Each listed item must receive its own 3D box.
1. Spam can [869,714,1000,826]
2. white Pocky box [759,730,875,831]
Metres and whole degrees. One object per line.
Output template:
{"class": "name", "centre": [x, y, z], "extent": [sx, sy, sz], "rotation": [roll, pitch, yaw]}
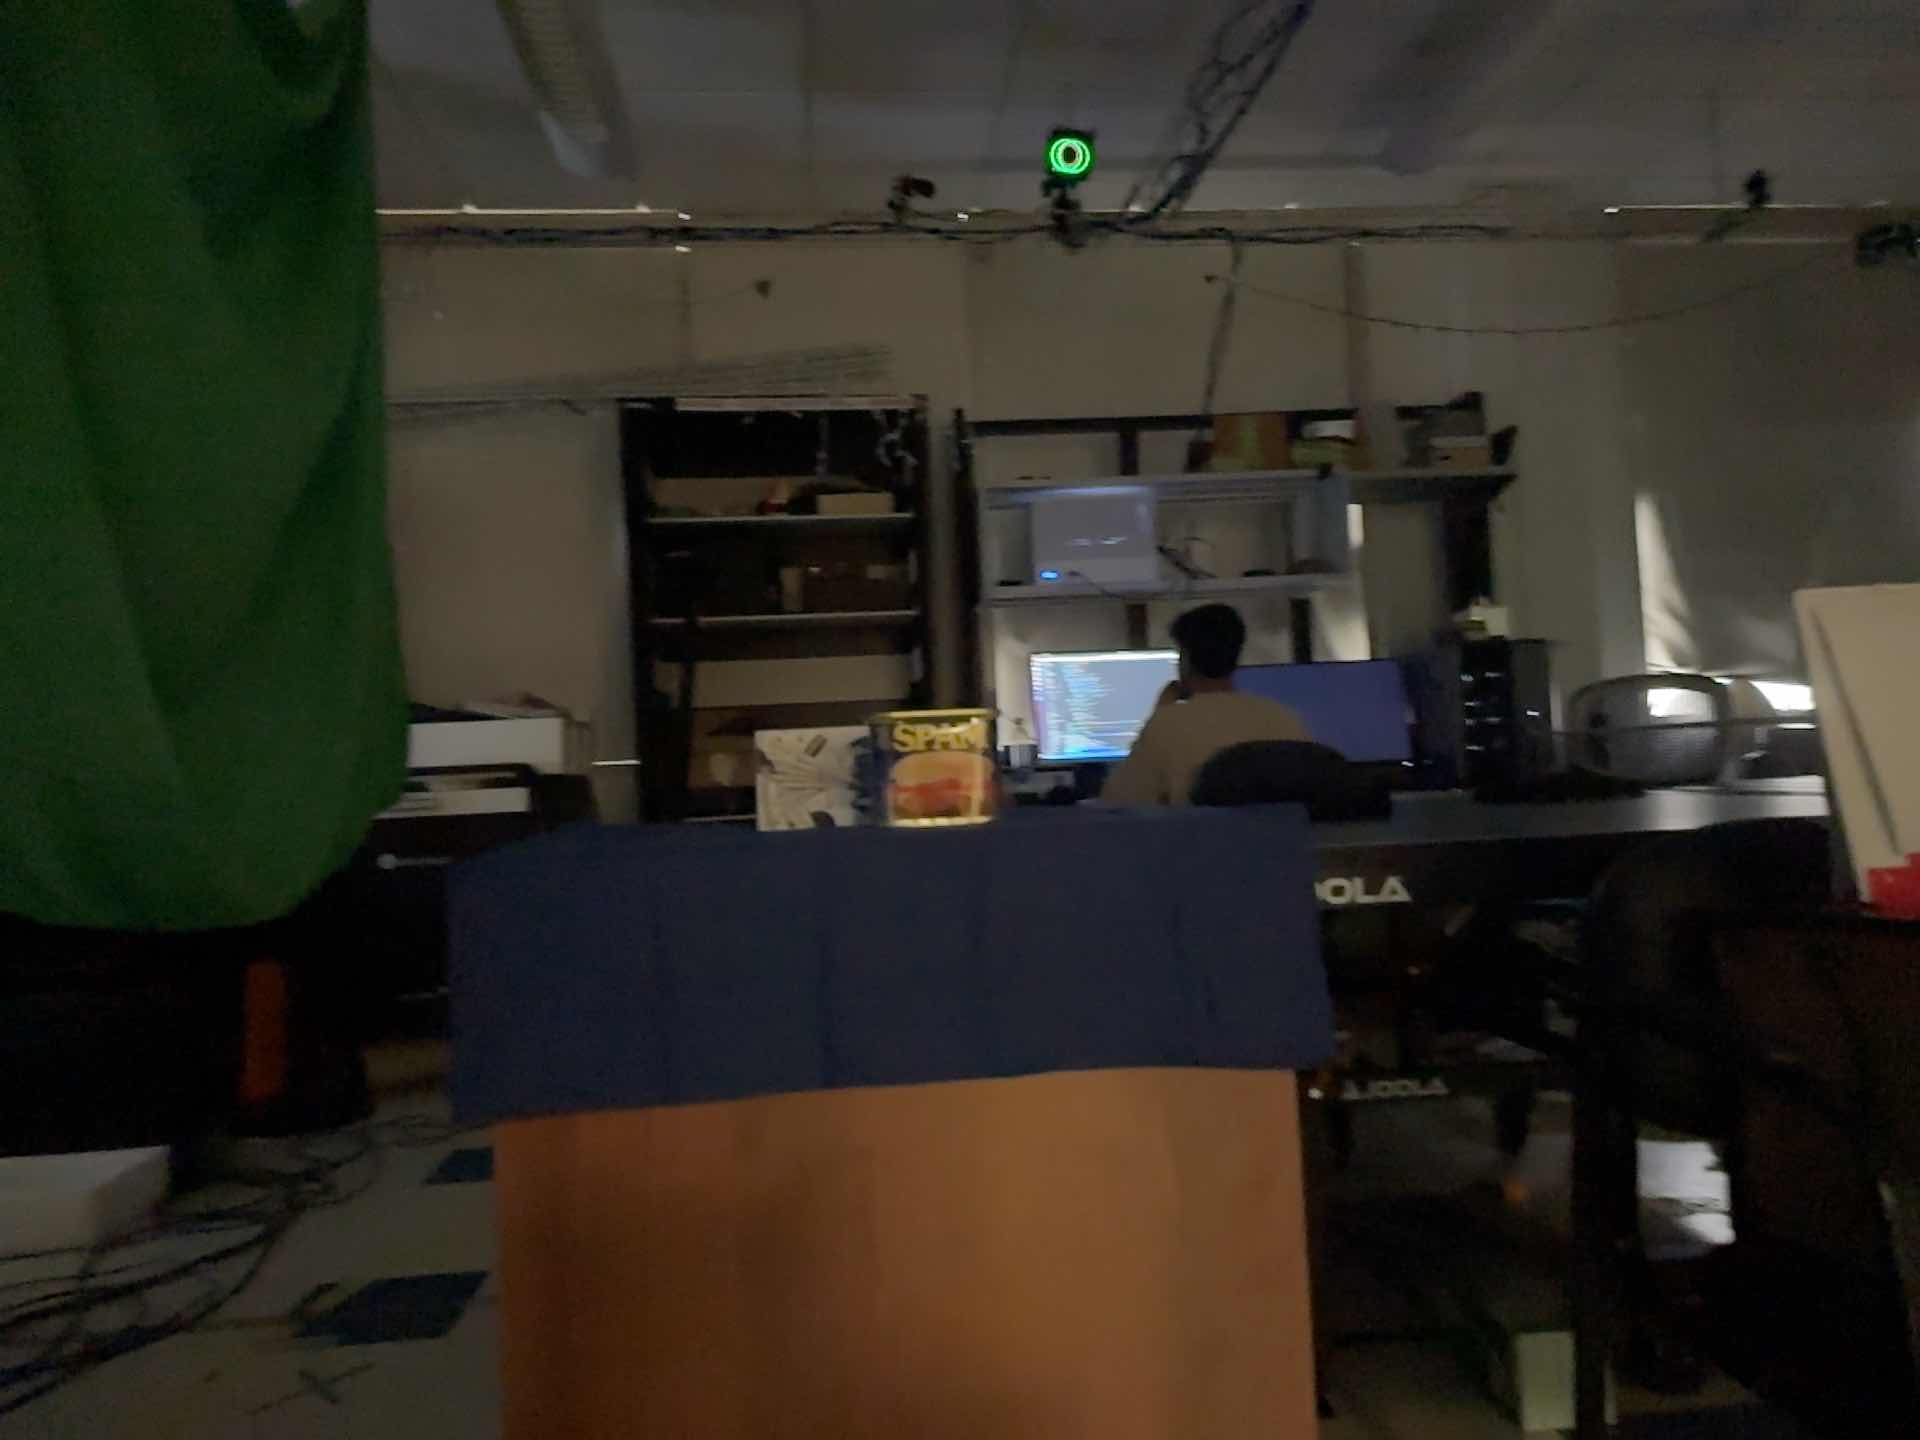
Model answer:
{"class": "Spam can", "centre": [-0.020, 0.040, 1.058], "extent": [0.100, 0.083, 0.056], "rotation": [-1, -4, -4]}
{"class": "white Pocky box", "centre": [-0.095, 0.050, 1.159], "extent": [0.154, 0.084, 0.028], "rotation": [-3, -4, 5]}
